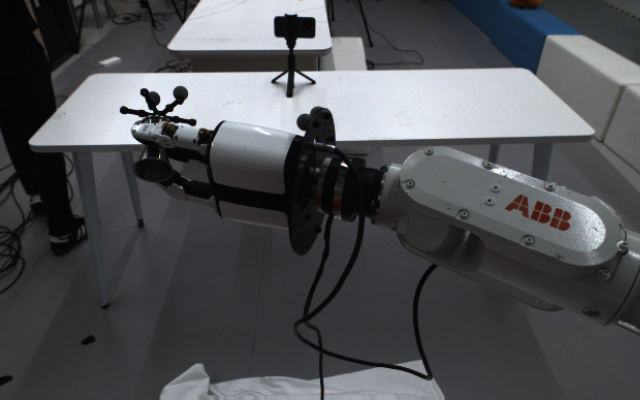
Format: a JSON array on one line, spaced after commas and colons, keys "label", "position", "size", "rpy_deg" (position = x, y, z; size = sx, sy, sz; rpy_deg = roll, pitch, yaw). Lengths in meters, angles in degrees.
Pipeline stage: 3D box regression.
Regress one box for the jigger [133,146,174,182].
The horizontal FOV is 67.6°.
[{"label": "jigger", "position": [-0.191, -0.060, 0.566], "size": [0.043, 0.043, 0.071], "rpy_deg": [-3, 57, -8]}]
